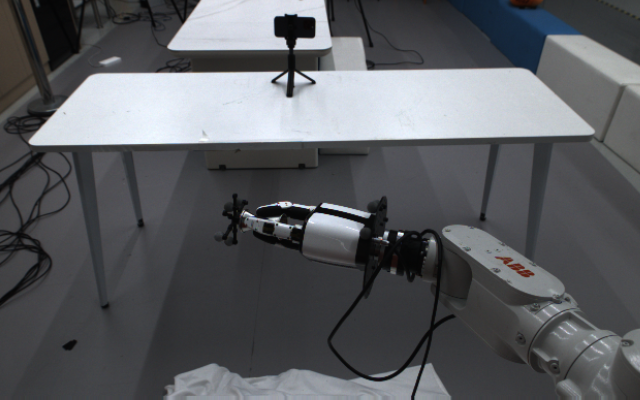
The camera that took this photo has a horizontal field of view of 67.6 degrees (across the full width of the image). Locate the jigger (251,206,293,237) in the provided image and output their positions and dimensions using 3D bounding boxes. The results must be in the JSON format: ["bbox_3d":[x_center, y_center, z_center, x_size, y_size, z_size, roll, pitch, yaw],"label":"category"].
[{"bbox_3d":[-0.086,0.034,0.784,0.071,0.043,0.043,7,35,15],"label":"jigger"}]
